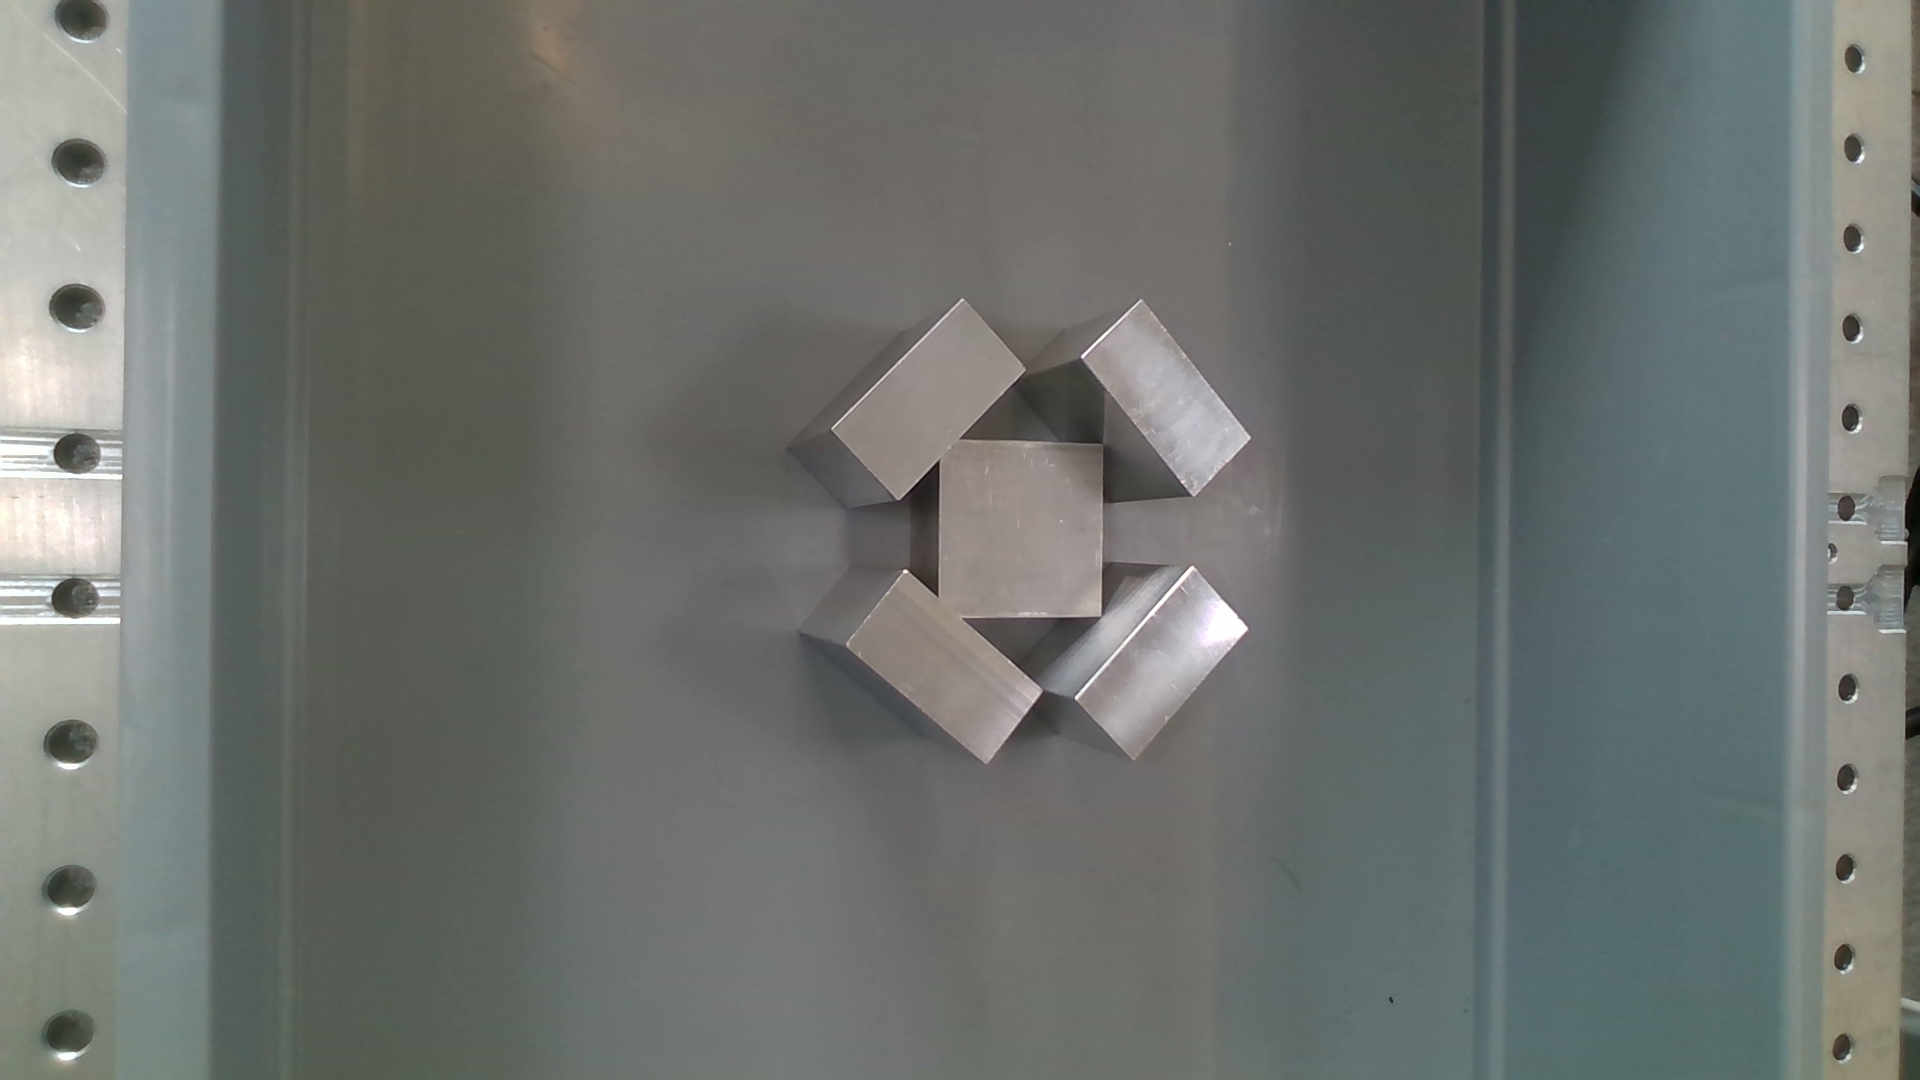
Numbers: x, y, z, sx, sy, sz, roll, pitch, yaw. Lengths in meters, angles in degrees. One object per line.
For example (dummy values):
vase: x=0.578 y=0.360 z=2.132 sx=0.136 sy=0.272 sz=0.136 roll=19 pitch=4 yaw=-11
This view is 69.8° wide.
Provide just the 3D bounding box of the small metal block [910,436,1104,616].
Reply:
small metal block: x=0.013 y=-0.004 z=0.397 sx=0.050 sy=0.025 sz=0.050 roll=1 pitch=90 yaw=-20

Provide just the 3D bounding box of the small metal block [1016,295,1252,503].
small metal block: x=0.048 y=-0.039 z=0.397 sx=0.025 sy=0.050 sz=0.050 roll=-44 pitch=103 yaw=-16

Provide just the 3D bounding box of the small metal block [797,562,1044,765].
small metal block: x=-0.012 y=0.032 z=0.374 sx=0.050 sy=0.050 sz=0.025 roll=42 pitch=77 yaw=-16

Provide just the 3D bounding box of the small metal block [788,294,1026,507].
small metal block: x=-0.016 y=-0.036 z=0.373 sx=0.025 sy=0.050 sz=0.050 roll=47 pitch=75 yaw=-13

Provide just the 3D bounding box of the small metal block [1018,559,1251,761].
small metal block: x=0.047 y=0.033 z=0.396 sx=0.050 sy=0.050 sz=0.025 roll=-46 pitch=105 yaw=-13
